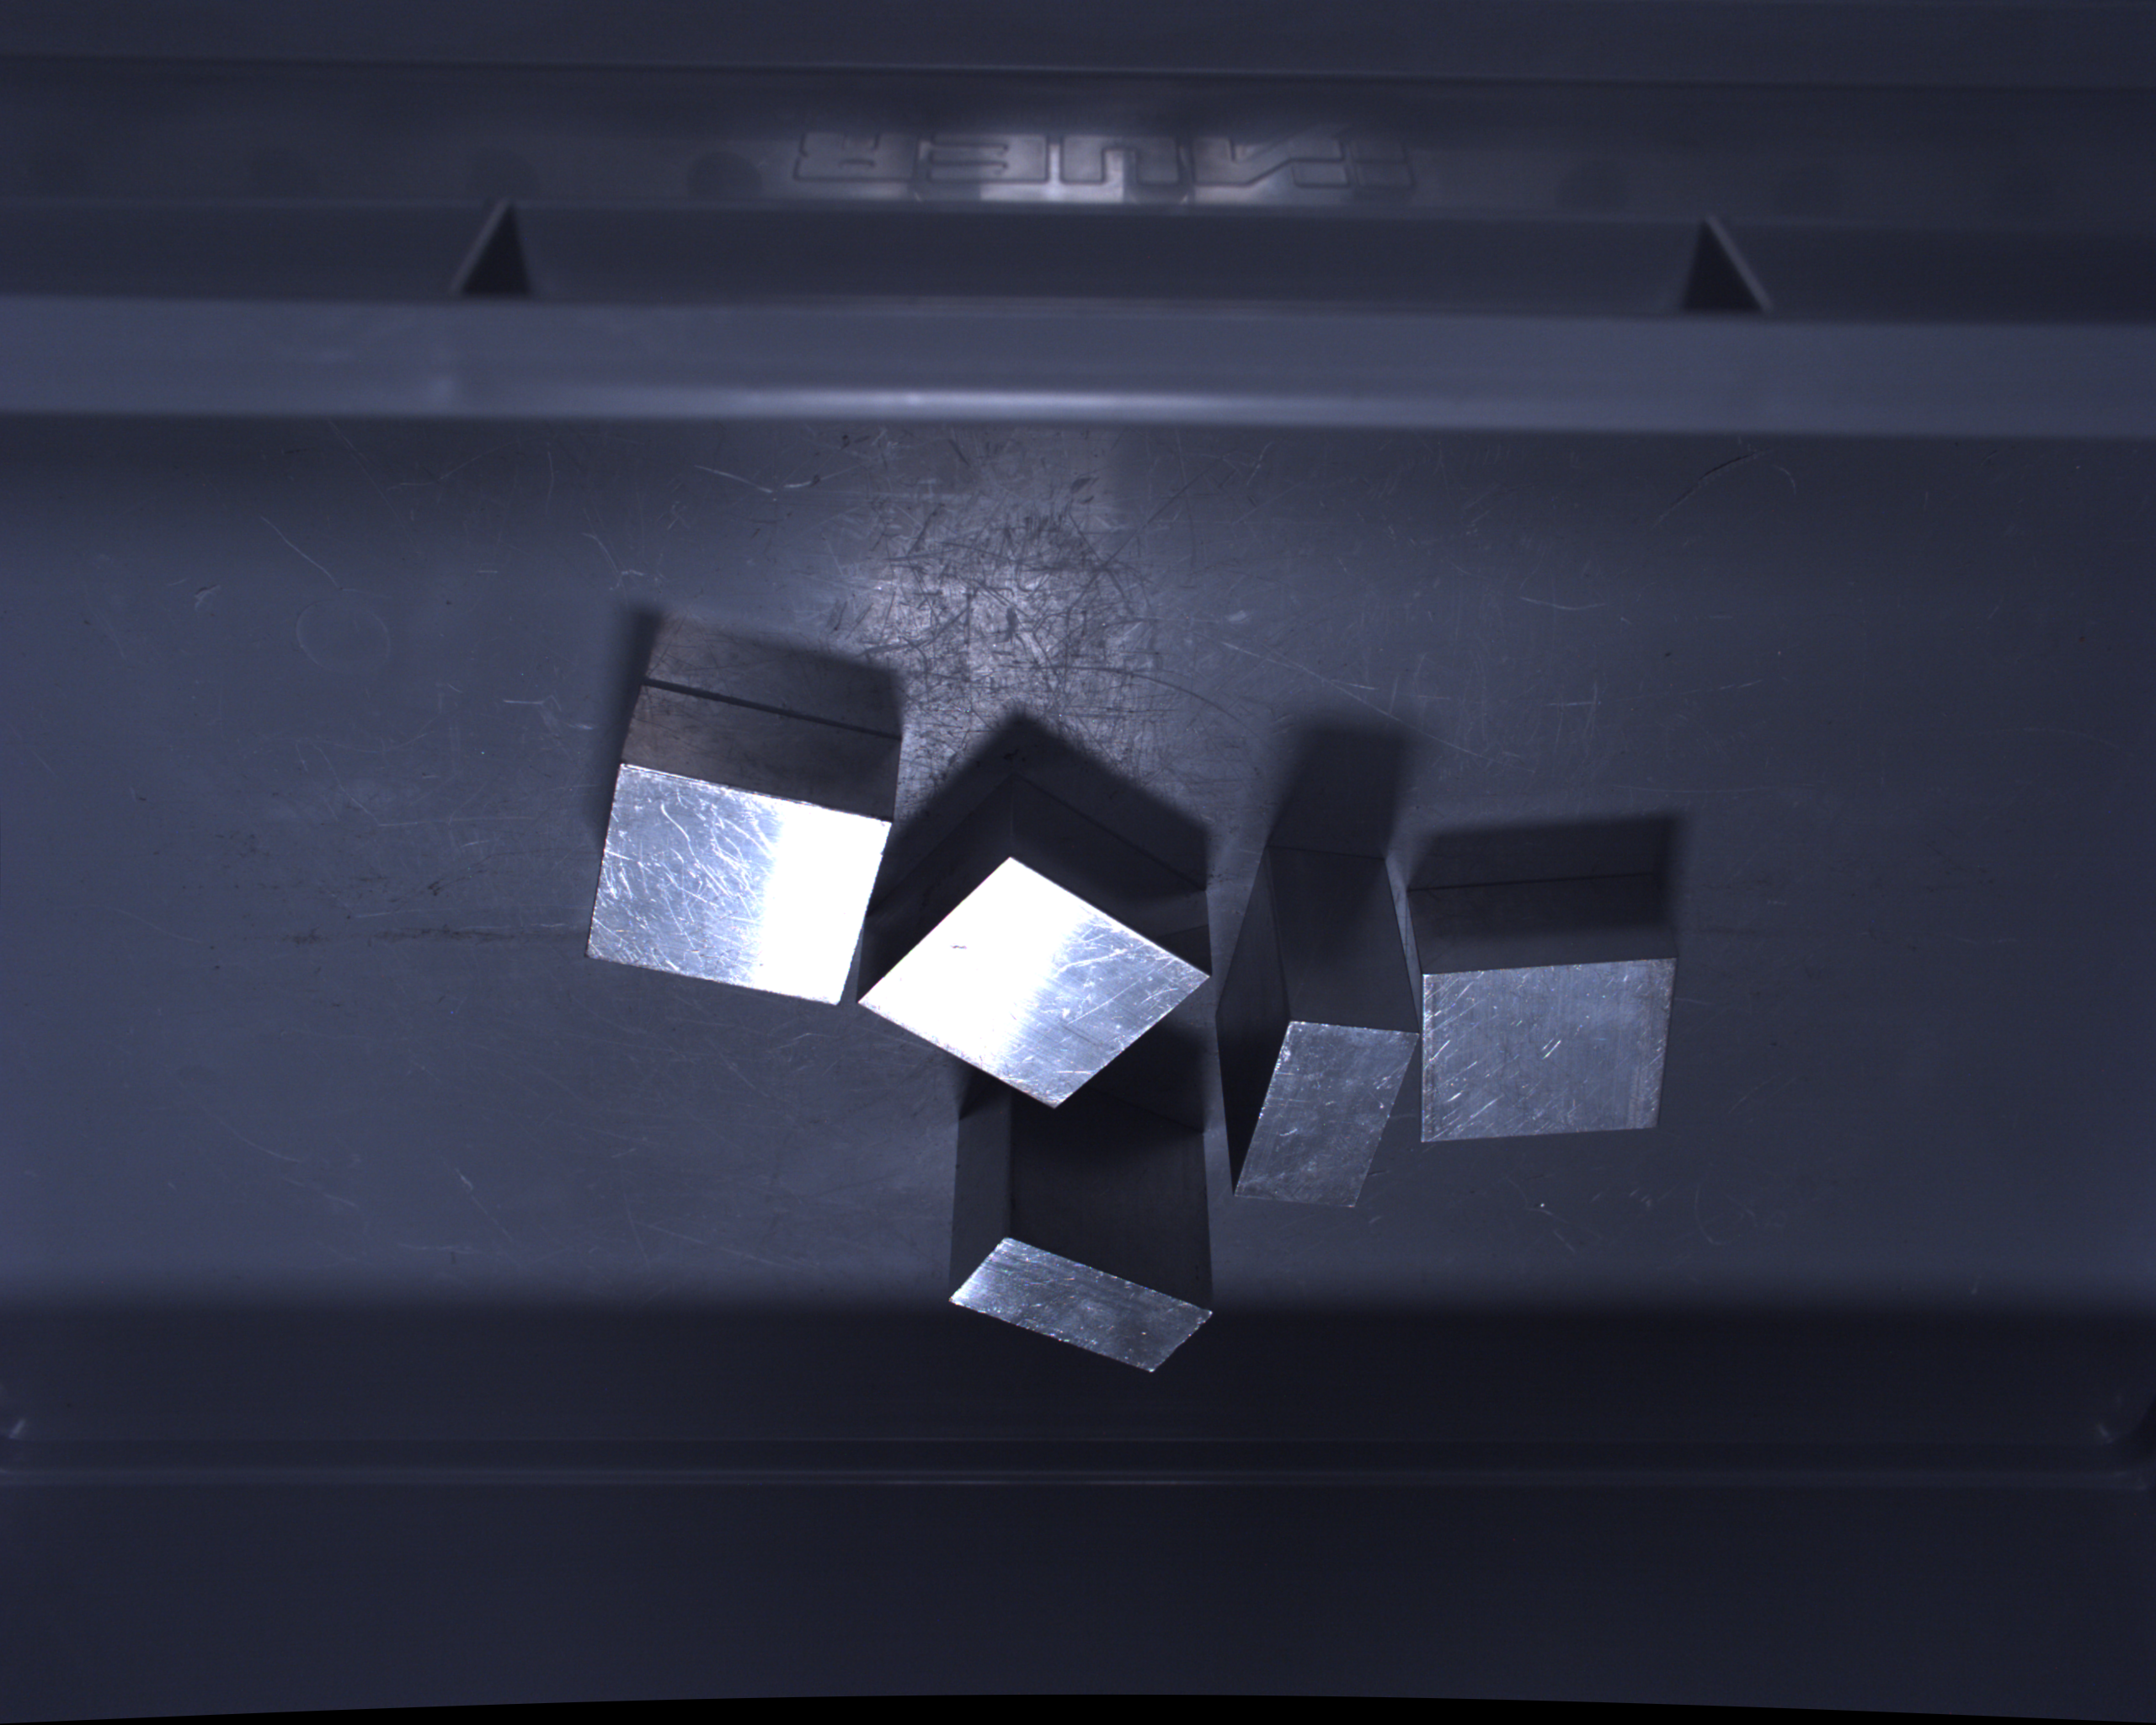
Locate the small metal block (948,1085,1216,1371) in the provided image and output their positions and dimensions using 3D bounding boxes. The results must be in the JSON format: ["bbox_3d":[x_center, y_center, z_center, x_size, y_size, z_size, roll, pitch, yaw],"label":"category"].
[{"bbox_3d":[0.001,0.076,0.455,0.050,0.050,0.025,24,127,-20],"label":"small metal block"}]

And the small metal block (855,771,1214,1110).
[{"bbox_3d":[-0.009,0.017,0.420,0.050,0.025,0.050,31,123,-24],"label":"small metal block"}]

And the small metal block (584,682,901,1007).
[{"bbox_3d":[-0.065,-0.003,0.403,0.050,0.025,0.050,12,129,-10],"label":"small metal block"}]

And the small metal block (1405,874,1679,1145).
[{"bbox_3d":[0.095,0.031,0.434,0.050,0.025,0.050,-4,130,3],"label":"small metal block"}]

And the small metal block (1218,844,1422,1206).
[{"bbox_3d":[0.047,0.032,0.419,0.025,0.050,0.050,7,130,-7],"label":"small metal block"}]
